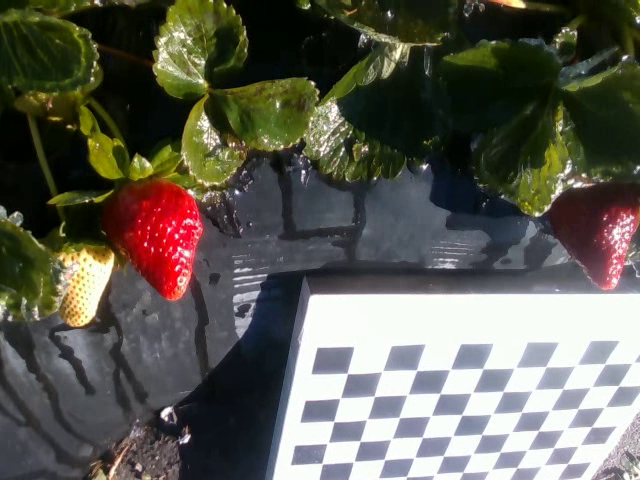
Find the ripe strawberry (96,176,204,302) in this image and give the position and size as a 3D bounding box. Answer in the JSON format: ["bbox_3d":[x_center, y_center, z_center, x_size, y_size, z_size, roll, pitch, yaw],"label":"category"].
[{"bbox_3d":[-0.073,0.004,0.284,0.043,0.061,0.046,-10,-3,-6],"label":"ripe strawberry"}]
